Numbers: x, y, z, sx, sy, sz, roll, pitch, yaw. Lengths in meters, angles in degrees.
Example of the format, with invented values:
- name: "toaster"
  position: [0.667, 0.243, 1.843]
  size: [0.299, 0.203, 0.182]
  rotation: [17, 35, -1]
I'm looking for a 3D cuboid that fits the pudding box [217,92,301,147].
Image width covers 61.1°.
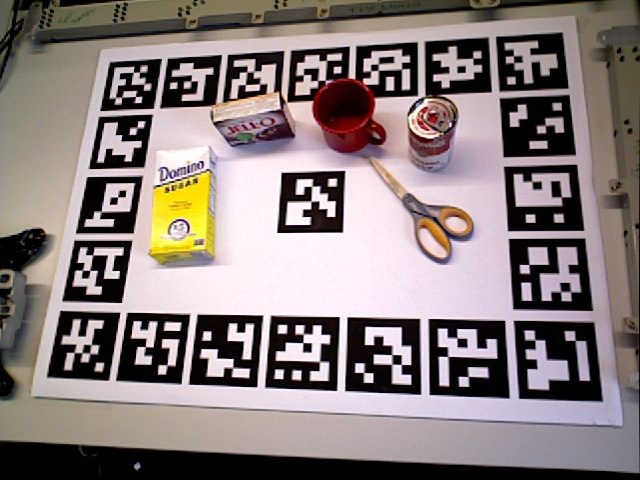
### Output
- name: "pudding box"
  position: [-0.091, -0.185, 0.828]
  size: [0.114, 0.090, 0.038]
  rotation: [-9, 78, 7]

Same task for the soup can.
- name: "soup can"
  position: [0.168, -0.144, 0.774]
  size: [0.068, 0.103, 0.067]
  rotation: [-3, 71, 9]

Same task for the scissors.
- name: "scissors"
  position: [0.145, -0.042, 0.785]
  size: [0.088, 0.016, 0.202]
  rotation: [-43, 73, 7]

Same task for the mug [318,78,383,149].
- name: "mug"
  position: [0.056, -0.182, 0.808]
  size: [0.093, 0.082, 0.117]
  rotation: [-35, 70, 1]

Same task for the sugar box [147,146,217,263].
- name: "sugar box"
  position: [-0.213, -0.055, 0.844]
  size: [0.093, 0.045, 0.175]
  rotation: [-3, 75, 11]
